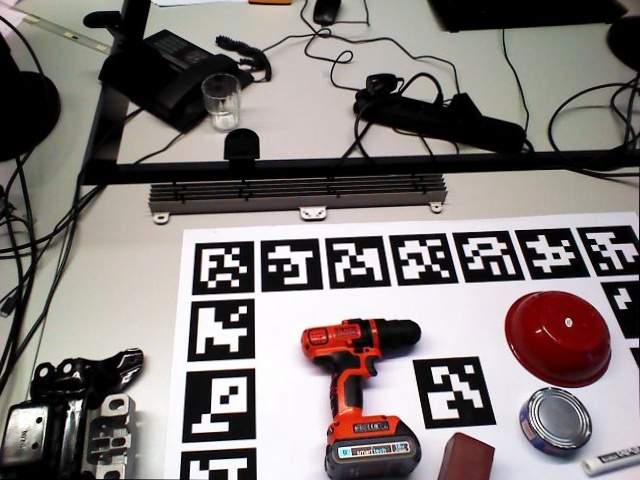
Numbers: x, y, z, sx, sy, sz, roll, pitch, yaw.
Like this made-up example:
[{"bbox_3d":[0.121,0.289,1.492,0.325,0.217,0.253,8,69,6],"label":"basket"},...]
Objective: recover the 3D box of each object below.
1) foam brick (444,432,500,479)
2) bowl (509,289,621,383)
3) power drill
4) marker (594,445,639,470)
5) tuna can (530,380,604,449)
[{"bbox_3d":[0.192,0.292,0.659,0.051,0.053,0.077,19,58,9],"label":"foam brick"},{"bbox_3d":[0.374,0.129,0.776,0.162,0.055,0.160,-2,49,2],"label":"bowl"},{"bbox_3d":[0.070,0.201,0.712,0.185,0.057,0.186,-2,53,-6],"label":"power drill"},{"bbox_3d":[0.421,0.280,0.681,0.121,0.020,0.019,-10,58,-8],"label":"marker"},{"bbox_3d":[0.333,0.237,0.701,0.086,0.034,0.085,2,55,-3],"label":"tuna can"}]
